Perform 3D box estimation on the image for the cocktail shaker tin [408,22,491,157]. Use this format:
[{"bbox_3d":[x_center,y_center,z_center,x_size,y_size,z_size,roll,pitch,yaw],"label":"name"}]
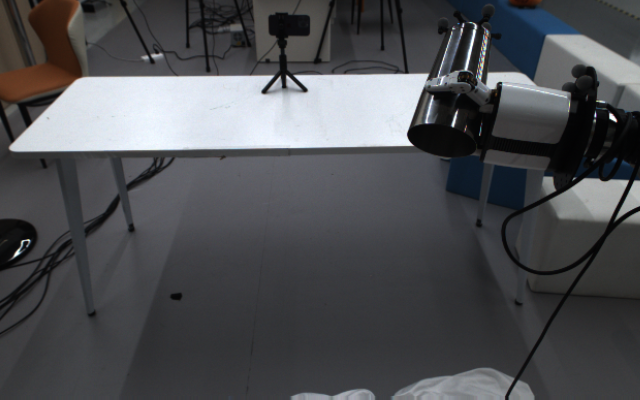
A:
[{"bbox_3d":[0.185,-0.155,0.666,0.093,0.093,0.170,14,72,16],"label":"cocktail shaker tin"}]
